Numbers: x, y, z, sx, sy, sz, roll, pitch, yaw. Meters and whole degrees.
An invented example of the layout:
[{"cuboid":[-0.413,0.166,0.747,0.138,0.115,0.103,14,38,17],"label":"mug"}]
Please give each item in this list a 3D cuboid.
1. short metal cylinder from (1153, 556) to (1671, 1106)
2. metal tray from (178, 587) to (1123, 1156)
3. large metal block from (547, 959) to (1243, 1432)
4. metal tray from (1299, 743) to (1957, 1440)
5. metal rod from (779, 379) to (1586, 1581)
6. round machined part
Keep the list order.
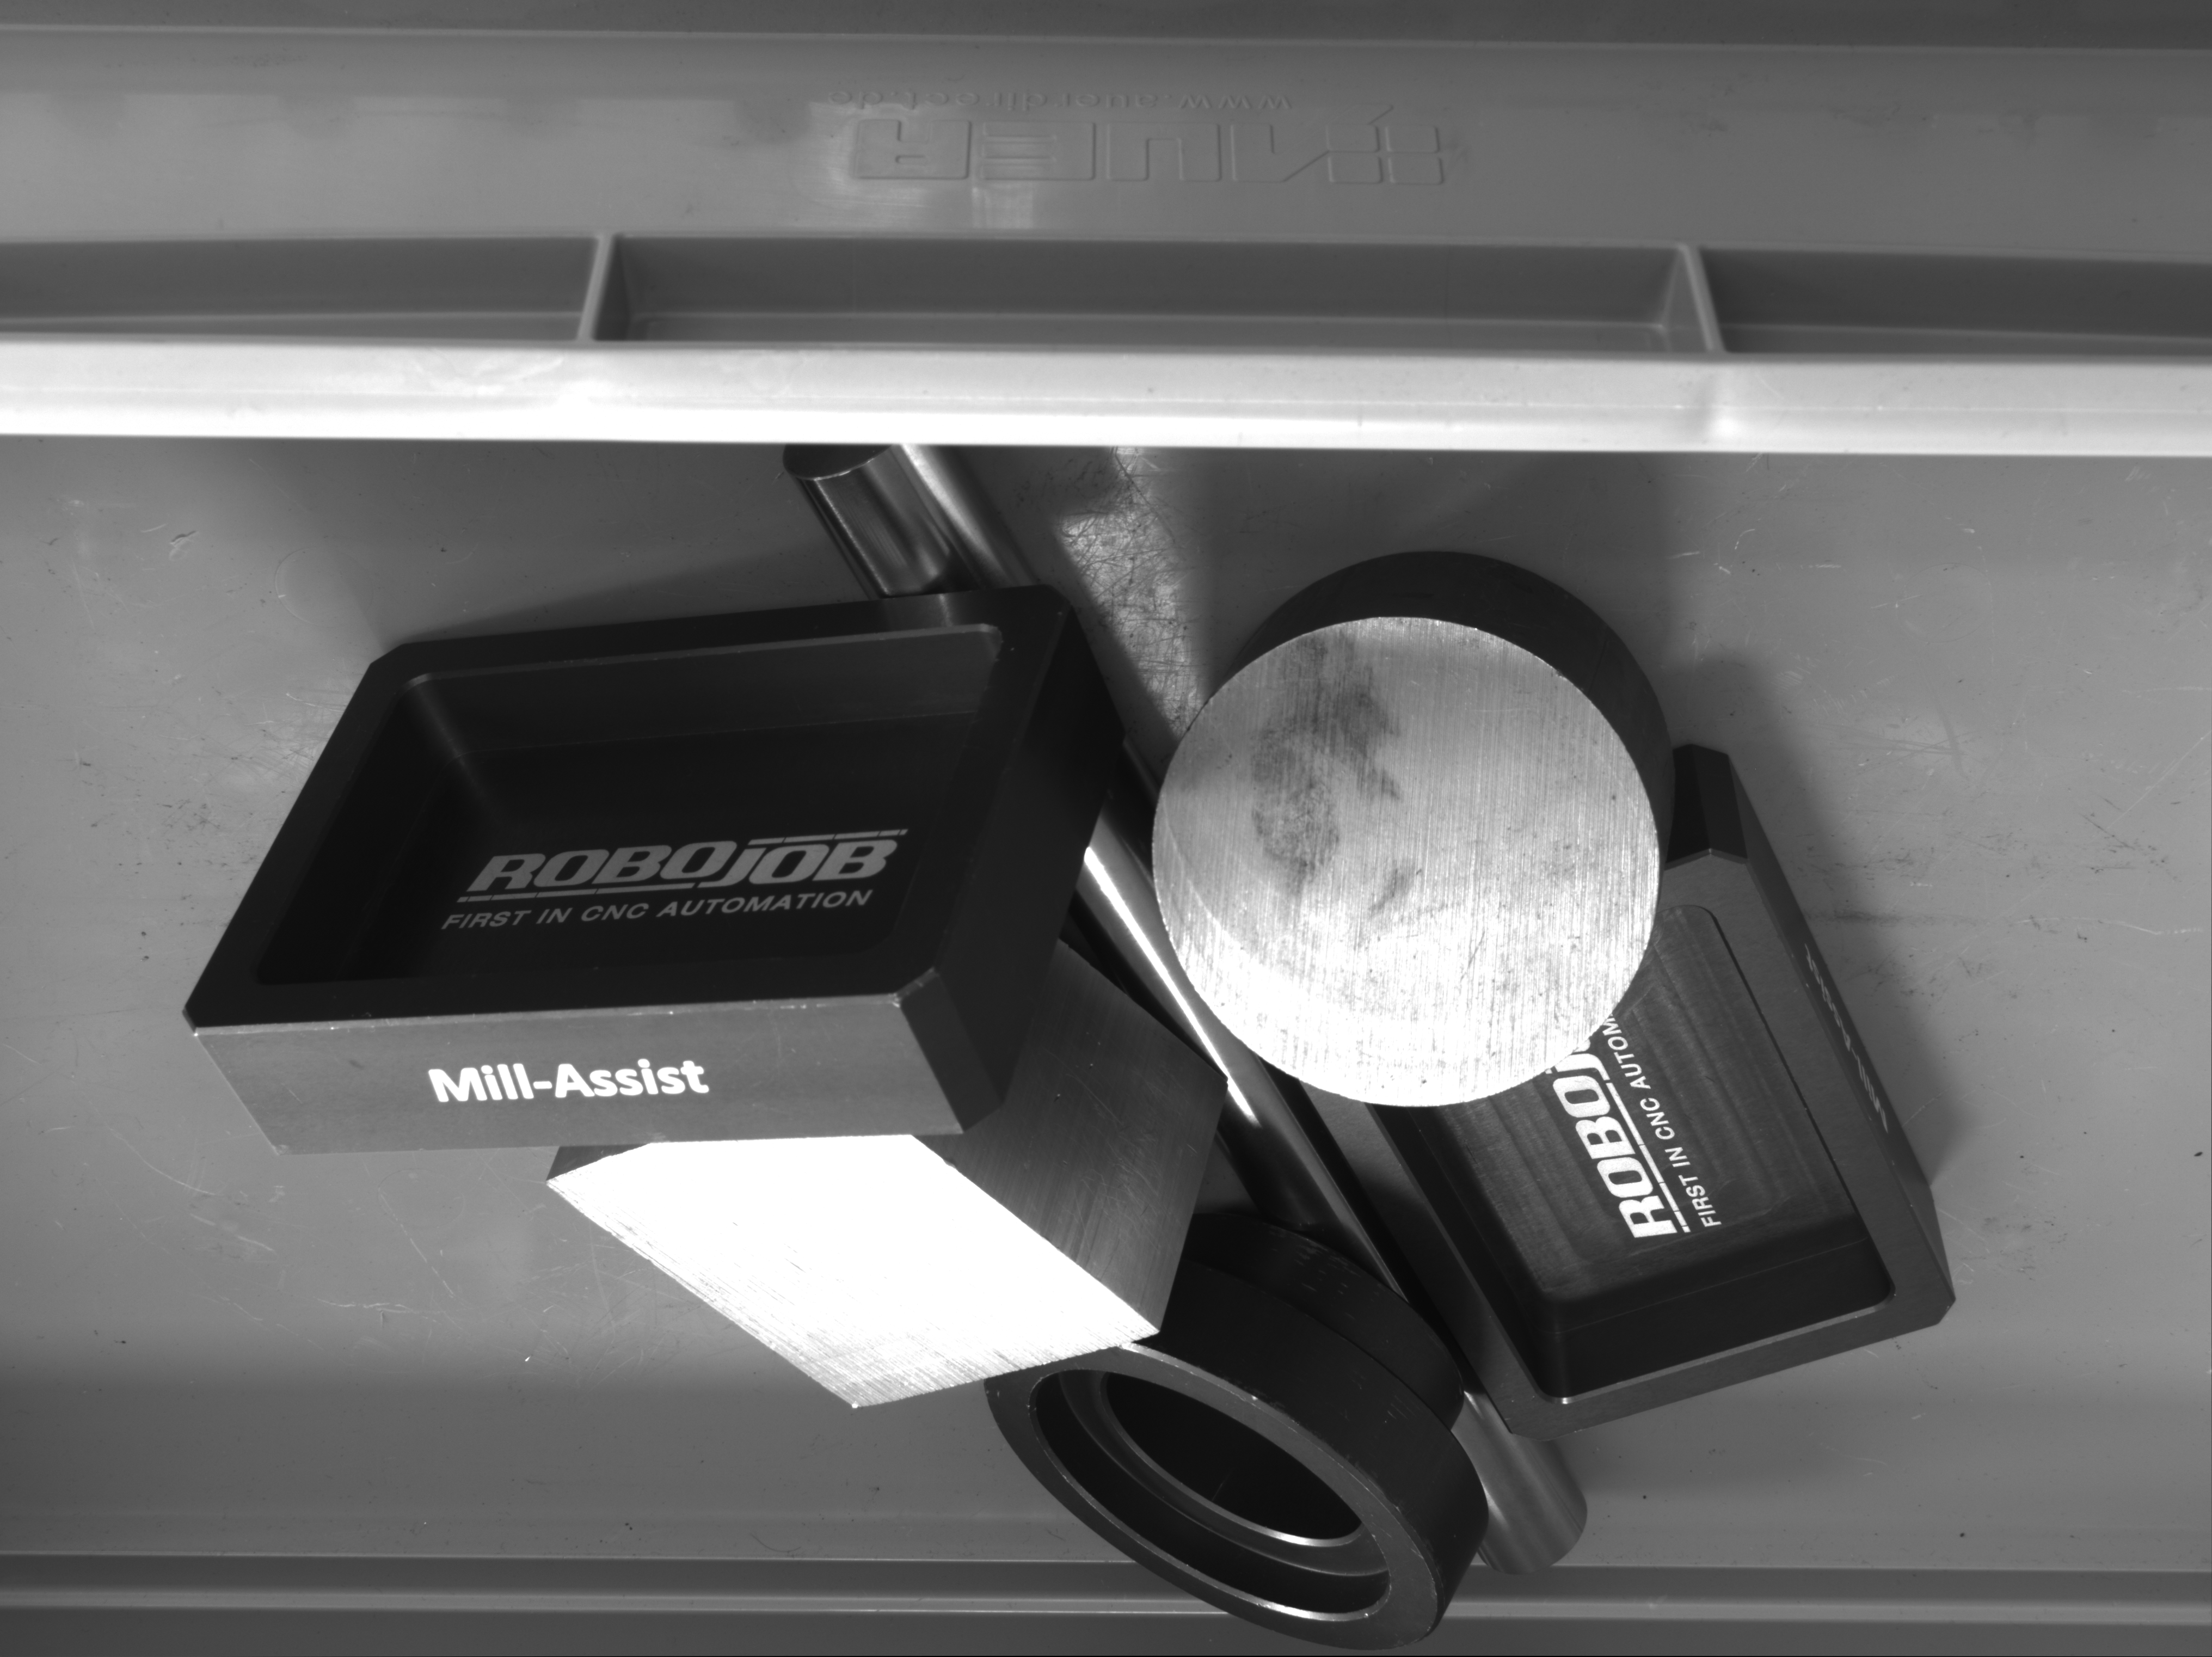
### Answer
[{"cuboid":[0.052,-0.001,0.602,0.080,0.050,0.080,3,106,11],"label":"short metal cylinder"},{"cuboid":[-0.071,0.007,0.583,0.130,0.090,0.030,-4,133,22],"label":"metal tray"},{"cuboid":[-0.036,0.058,0.646,0.080,0.050,0.080,-22,129,40],"label":"large metal block"},{"cuboid":[0.094,0.052,0.679,0.090,0.030,0.130,-20,127,16],"label":"metal tray"},{"cuboid":[0.023,0.041,0.672,0.025,0.025,0.301,-20,127,16],"label":"metal rod"},{"cuboid":[0.029,0.111,0.701,0.098,0.042,0.098,24,148,16],"label":"round machined part"}]
